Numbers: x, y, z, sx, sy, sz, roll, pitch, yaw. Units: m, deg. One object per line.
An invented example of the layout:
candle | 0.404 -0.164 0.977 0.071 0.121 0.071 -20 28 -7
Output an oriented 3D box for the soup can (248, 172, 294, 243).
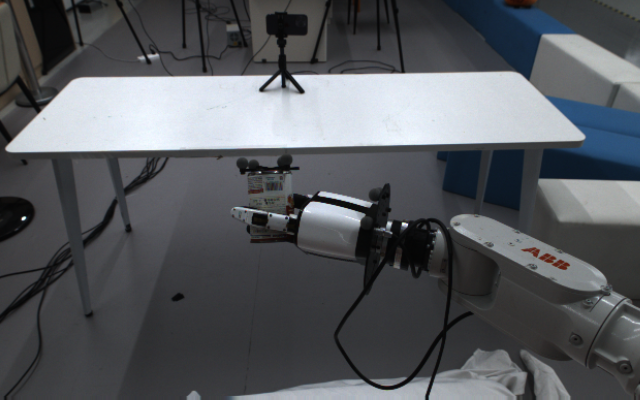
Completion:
soup can | -0.070 0.011 0.708 0.067 0.101 0.067 -3 -1 0
